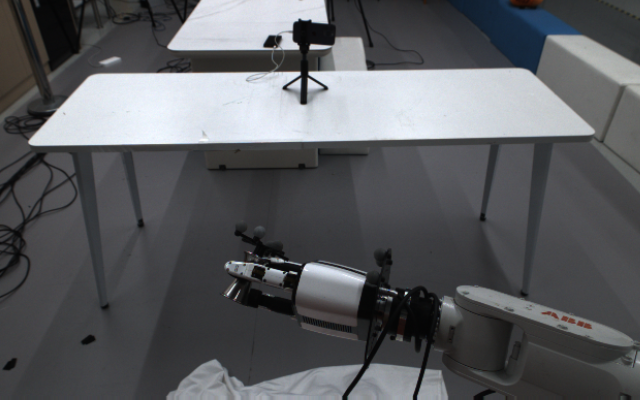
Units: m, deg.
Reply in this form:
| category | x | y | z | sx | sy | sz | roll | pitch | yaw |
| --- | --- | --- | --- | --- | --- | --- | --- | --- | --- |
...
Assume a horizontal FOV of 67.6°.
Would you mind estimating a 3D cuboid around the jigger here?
| category | x | y | z | sx | sy | sz | roll | pitch | yaw |
| --- | --- | --- | --- | --- | --- | --- | --- | --- | --- |
| jigger | -0.105 | 0.107 | 0.673 | 0.043 | 0.043 | 0.071 | 20 | 74 | 24 |
